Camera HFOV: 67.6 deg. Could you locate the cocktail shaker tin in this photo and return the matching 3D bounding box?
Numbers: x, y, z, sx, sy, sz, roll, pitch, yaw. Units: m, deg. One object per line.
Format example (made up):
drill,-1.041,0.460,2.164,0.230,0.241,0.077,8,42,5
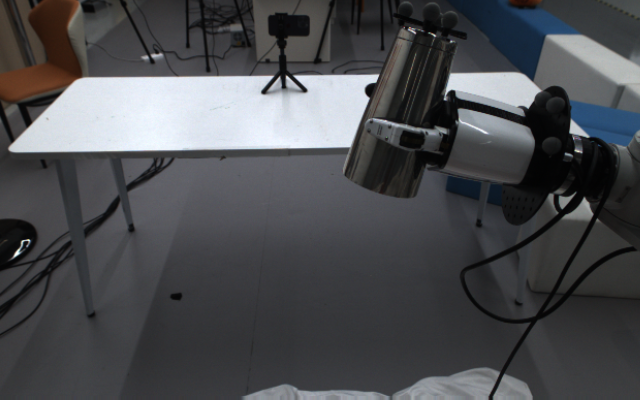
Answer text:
cocktail shaker tin,0.094,-0.099,0.543,0.093,0.170,0.093,15,19,-5
